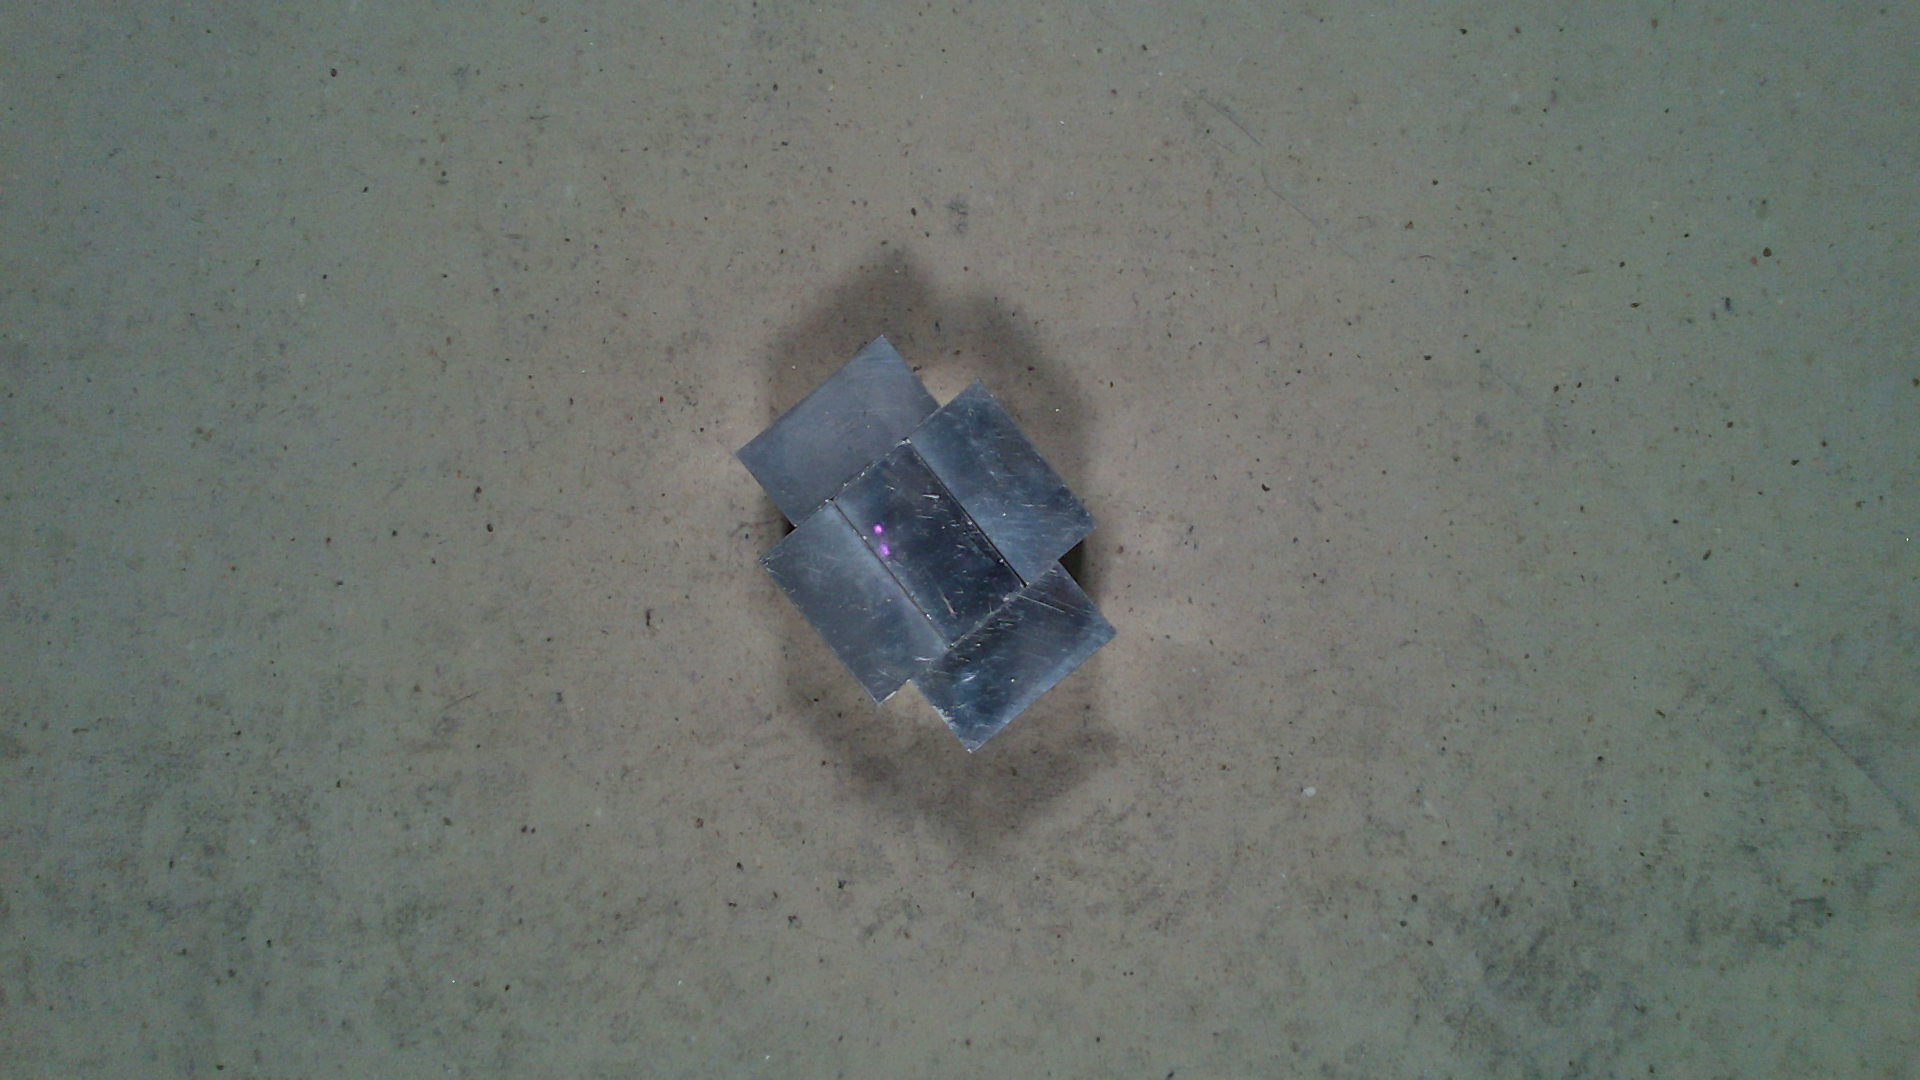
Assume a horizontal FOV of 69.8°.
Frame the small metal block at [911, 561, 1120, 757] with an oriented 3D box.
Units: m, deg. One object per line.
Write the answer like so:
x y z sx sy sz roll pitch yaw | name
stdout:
0.015 0.031 0.383 0.050 0.050 0.025 -39 90 0 | small metal block

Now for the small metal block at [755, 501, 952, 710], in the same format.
-0.028 0.017 0.382 0.025 0.050 0.050 -40 90 0 | small metal block

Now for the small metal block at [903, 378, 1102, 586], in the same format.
0.011 -0.015 0.382 0.025 0.050 0.050 -41 90 0 | small metal block

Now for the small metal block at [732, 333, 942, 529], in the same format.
-0.032 -0.028 0.382 0.050 0.050 0.025 -39 90 0 | small metal block

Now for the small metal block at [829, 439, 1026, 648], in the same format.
-0.008 0.001 0.382 0.025 0.050 0.050 -40 90 0 | small metal block
